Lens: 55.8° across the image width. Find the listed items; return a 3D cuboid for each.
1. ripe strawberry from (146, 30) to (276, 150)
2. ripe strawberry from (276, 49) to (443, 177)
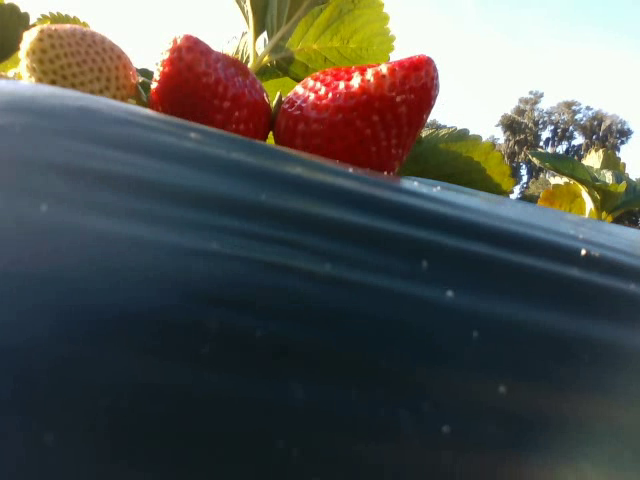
[{"bbox_3d":[-0.037,-0.046,0.190,0.050,0.044,0.061,26,-13,13],"label":"ripe strawberry"},{"bbox_3d":[0.017,-0.041,0.195,0.056,0.052,0.067,-22,-6,-47],"label":"ripe strawberry"}]
